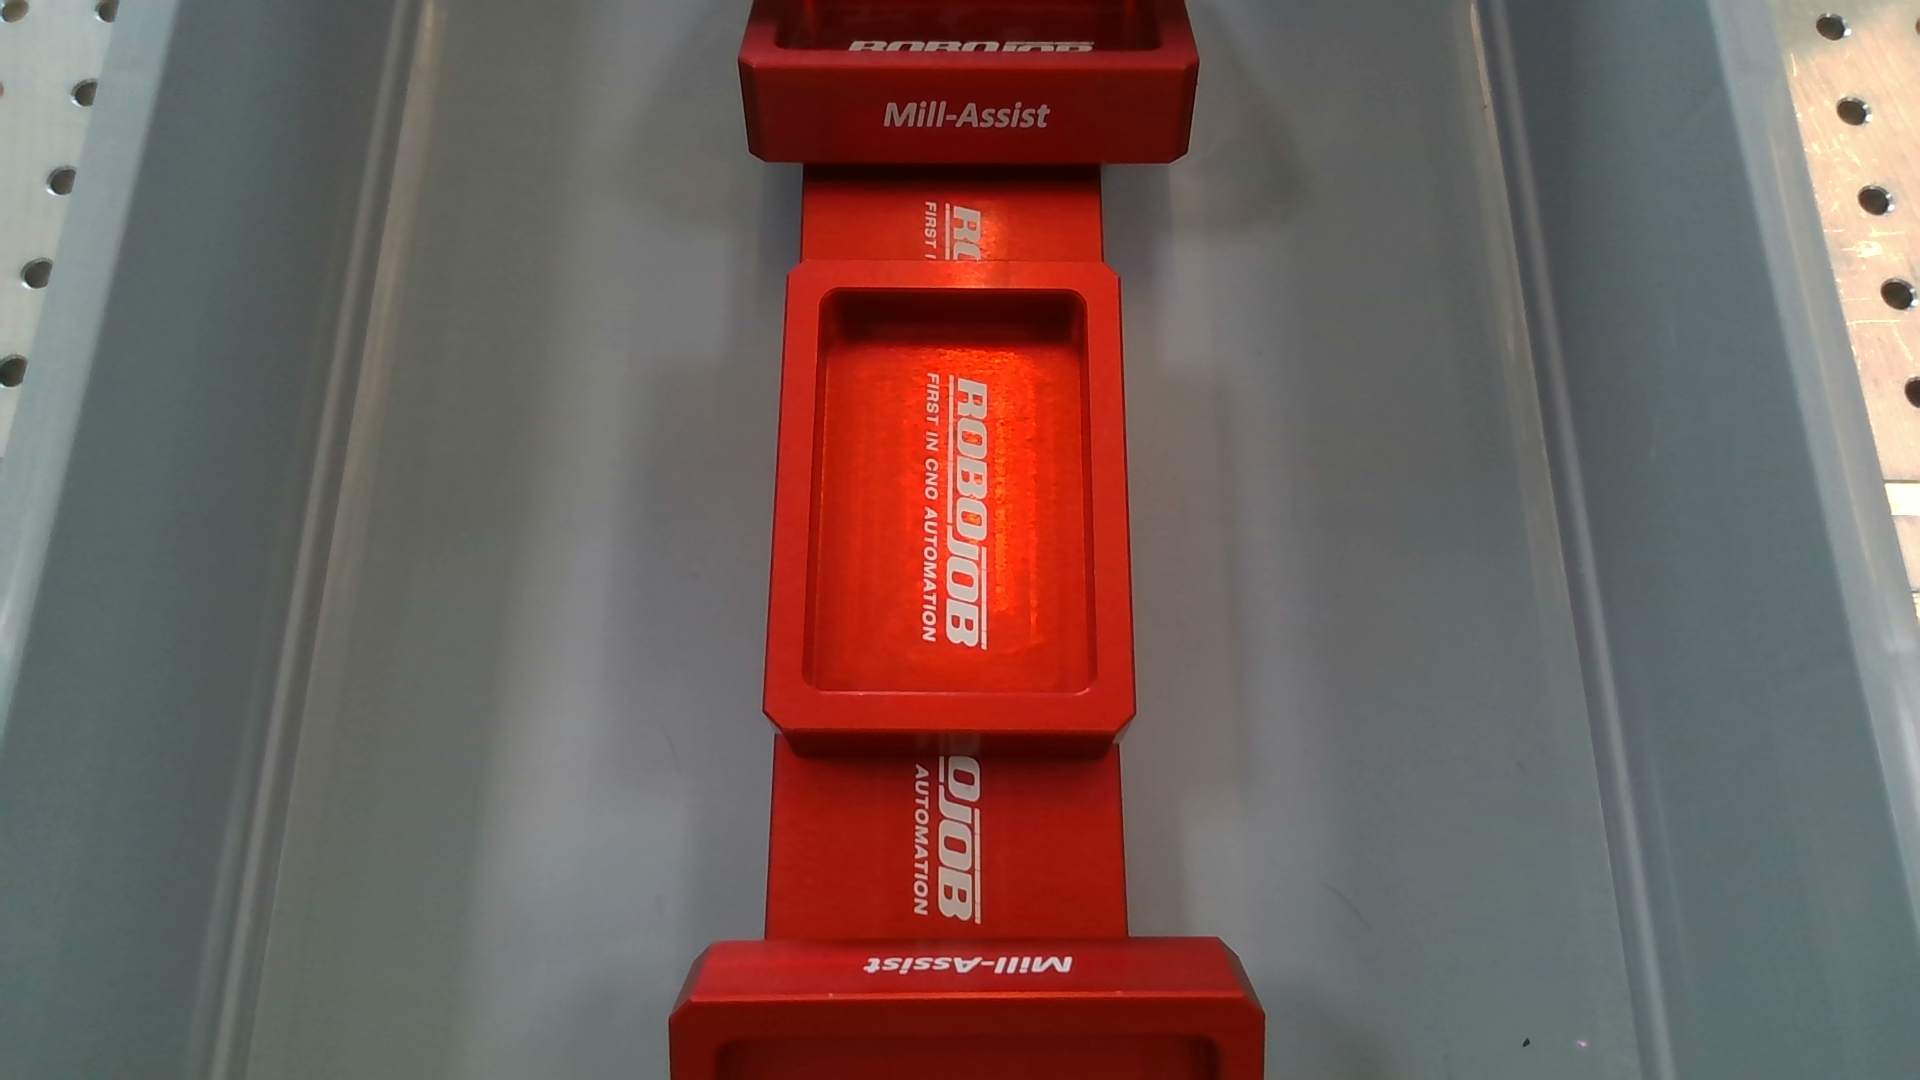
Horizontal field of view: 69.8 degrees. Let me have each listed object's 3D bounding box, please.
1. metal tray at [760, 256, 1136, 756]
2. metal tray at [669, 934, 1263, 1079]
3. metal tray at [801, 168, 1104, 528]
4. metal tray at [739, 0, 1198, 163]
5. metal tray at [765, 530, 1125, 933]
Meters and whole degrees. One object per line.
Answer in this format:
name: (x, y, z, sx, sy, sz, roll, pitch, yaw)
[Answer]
metal tray: (-0.002, -0.011, 0.363, 0.090, 0.030, 0.130, 1, 70, 0)
metal tray: (0.001, 0.141, 0.321, 0.130, 0.030, 0.090, 0, 99, 0)
metal tray: (-0.002, -0.060, 0.414, 0.090, 0.030, 0.130, 0, 70, 0)
metal tray: (0.003, -0.153, 0.427, 0.130, 0.030, 0.090, 0, 45, 0)
metal tray: (-0.004, 0.062, 0.370, 0.090, 0.030, 0.130, 0, 70, 0)
